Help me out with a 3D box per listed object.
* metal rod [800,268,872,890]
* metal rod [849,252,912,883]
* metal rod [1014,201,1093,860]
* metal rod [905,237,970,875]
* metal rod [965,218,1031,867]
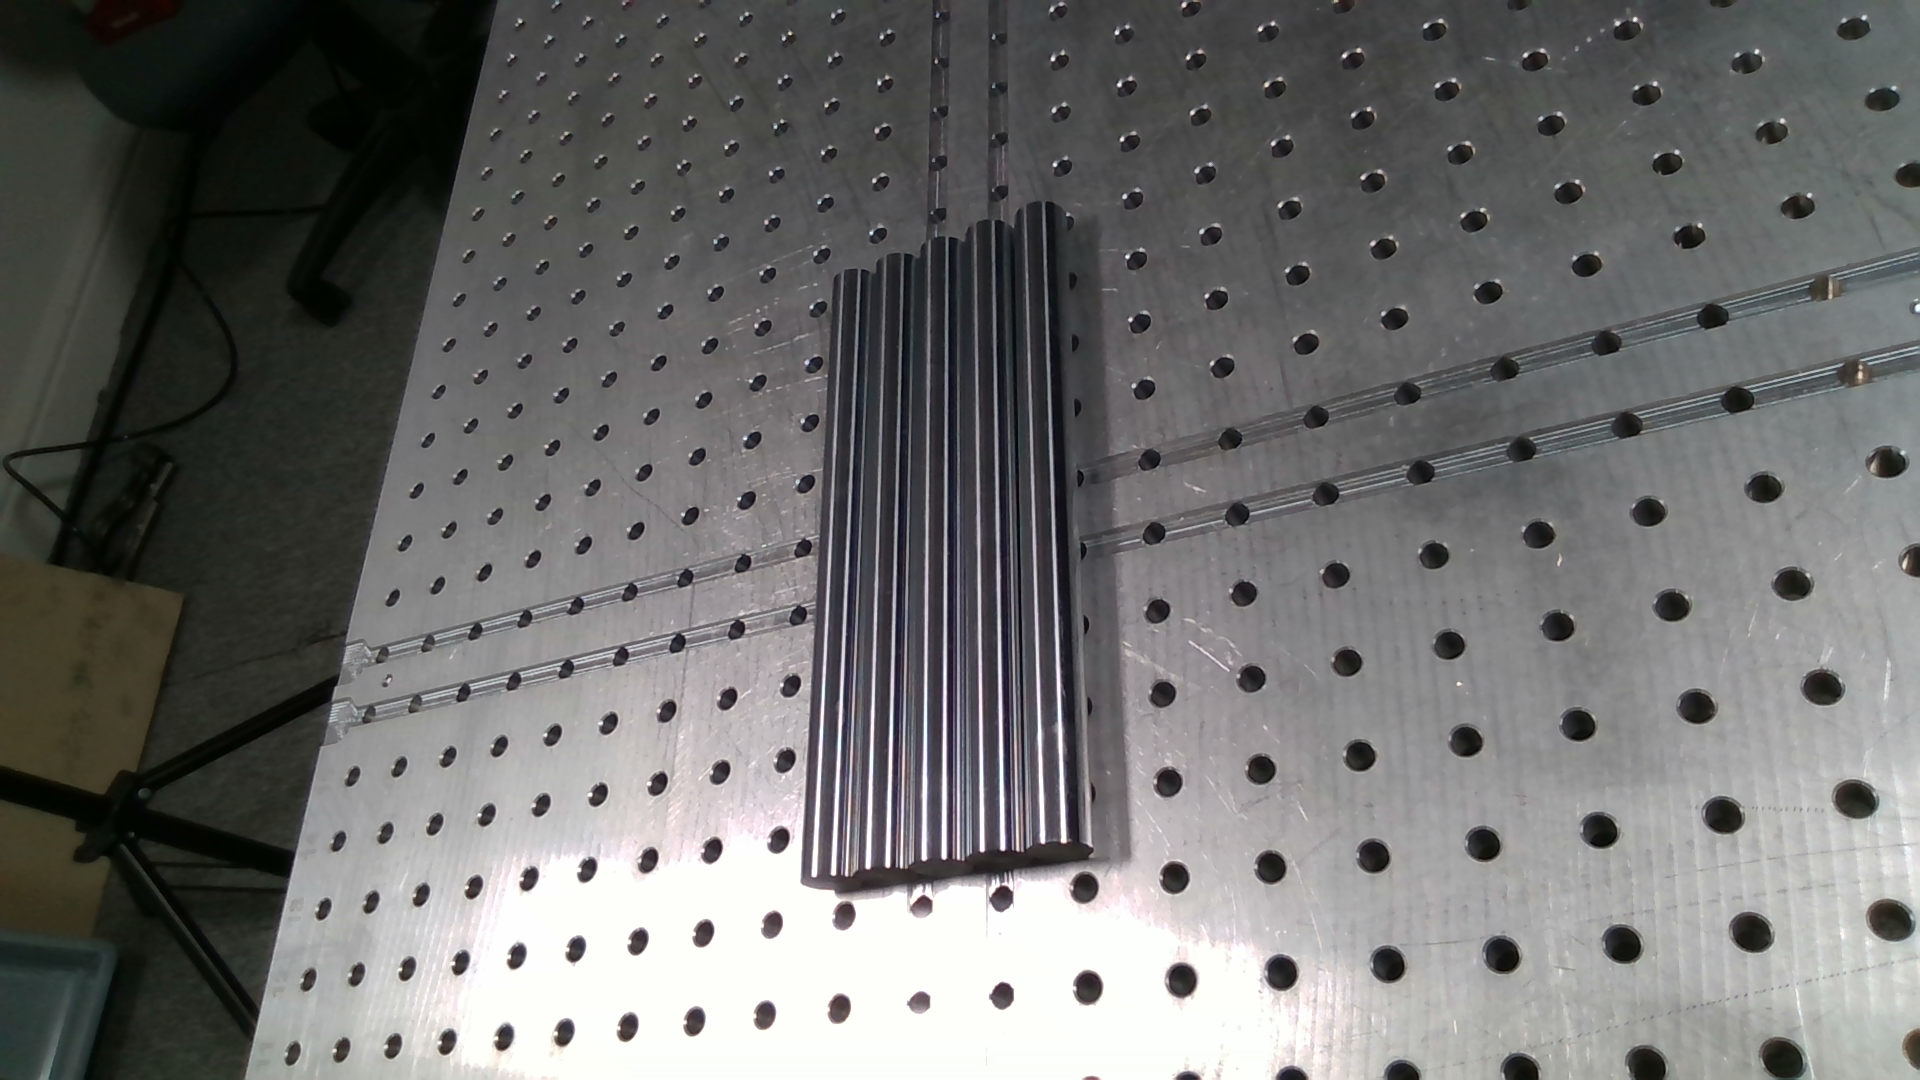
[{"bbox_3d":[-0.051,0.004,0.618,0.025,0.025,0.299,-14,59,25],"label":"metal rod"},{"bbox_3d":[-0.030,-0.001,0.607,0.025,0.025,0.299,-14,59,25],"label":"metal rod"},{"bbox_3d":[0.037,-0.018,0.575,0.025,0.025,0.299,-14,59,25],"label":"metal rod"},{"bbox_3d":[-0.008,-0.006,0.597,0.025,0.025,0.299,-14,59,25],"label":"metal rod"},{"bbox_3d":[0.015,-0.013,0.586,0.025,0.025,0.299,-14,59,25],"label":"metal rod"}]
